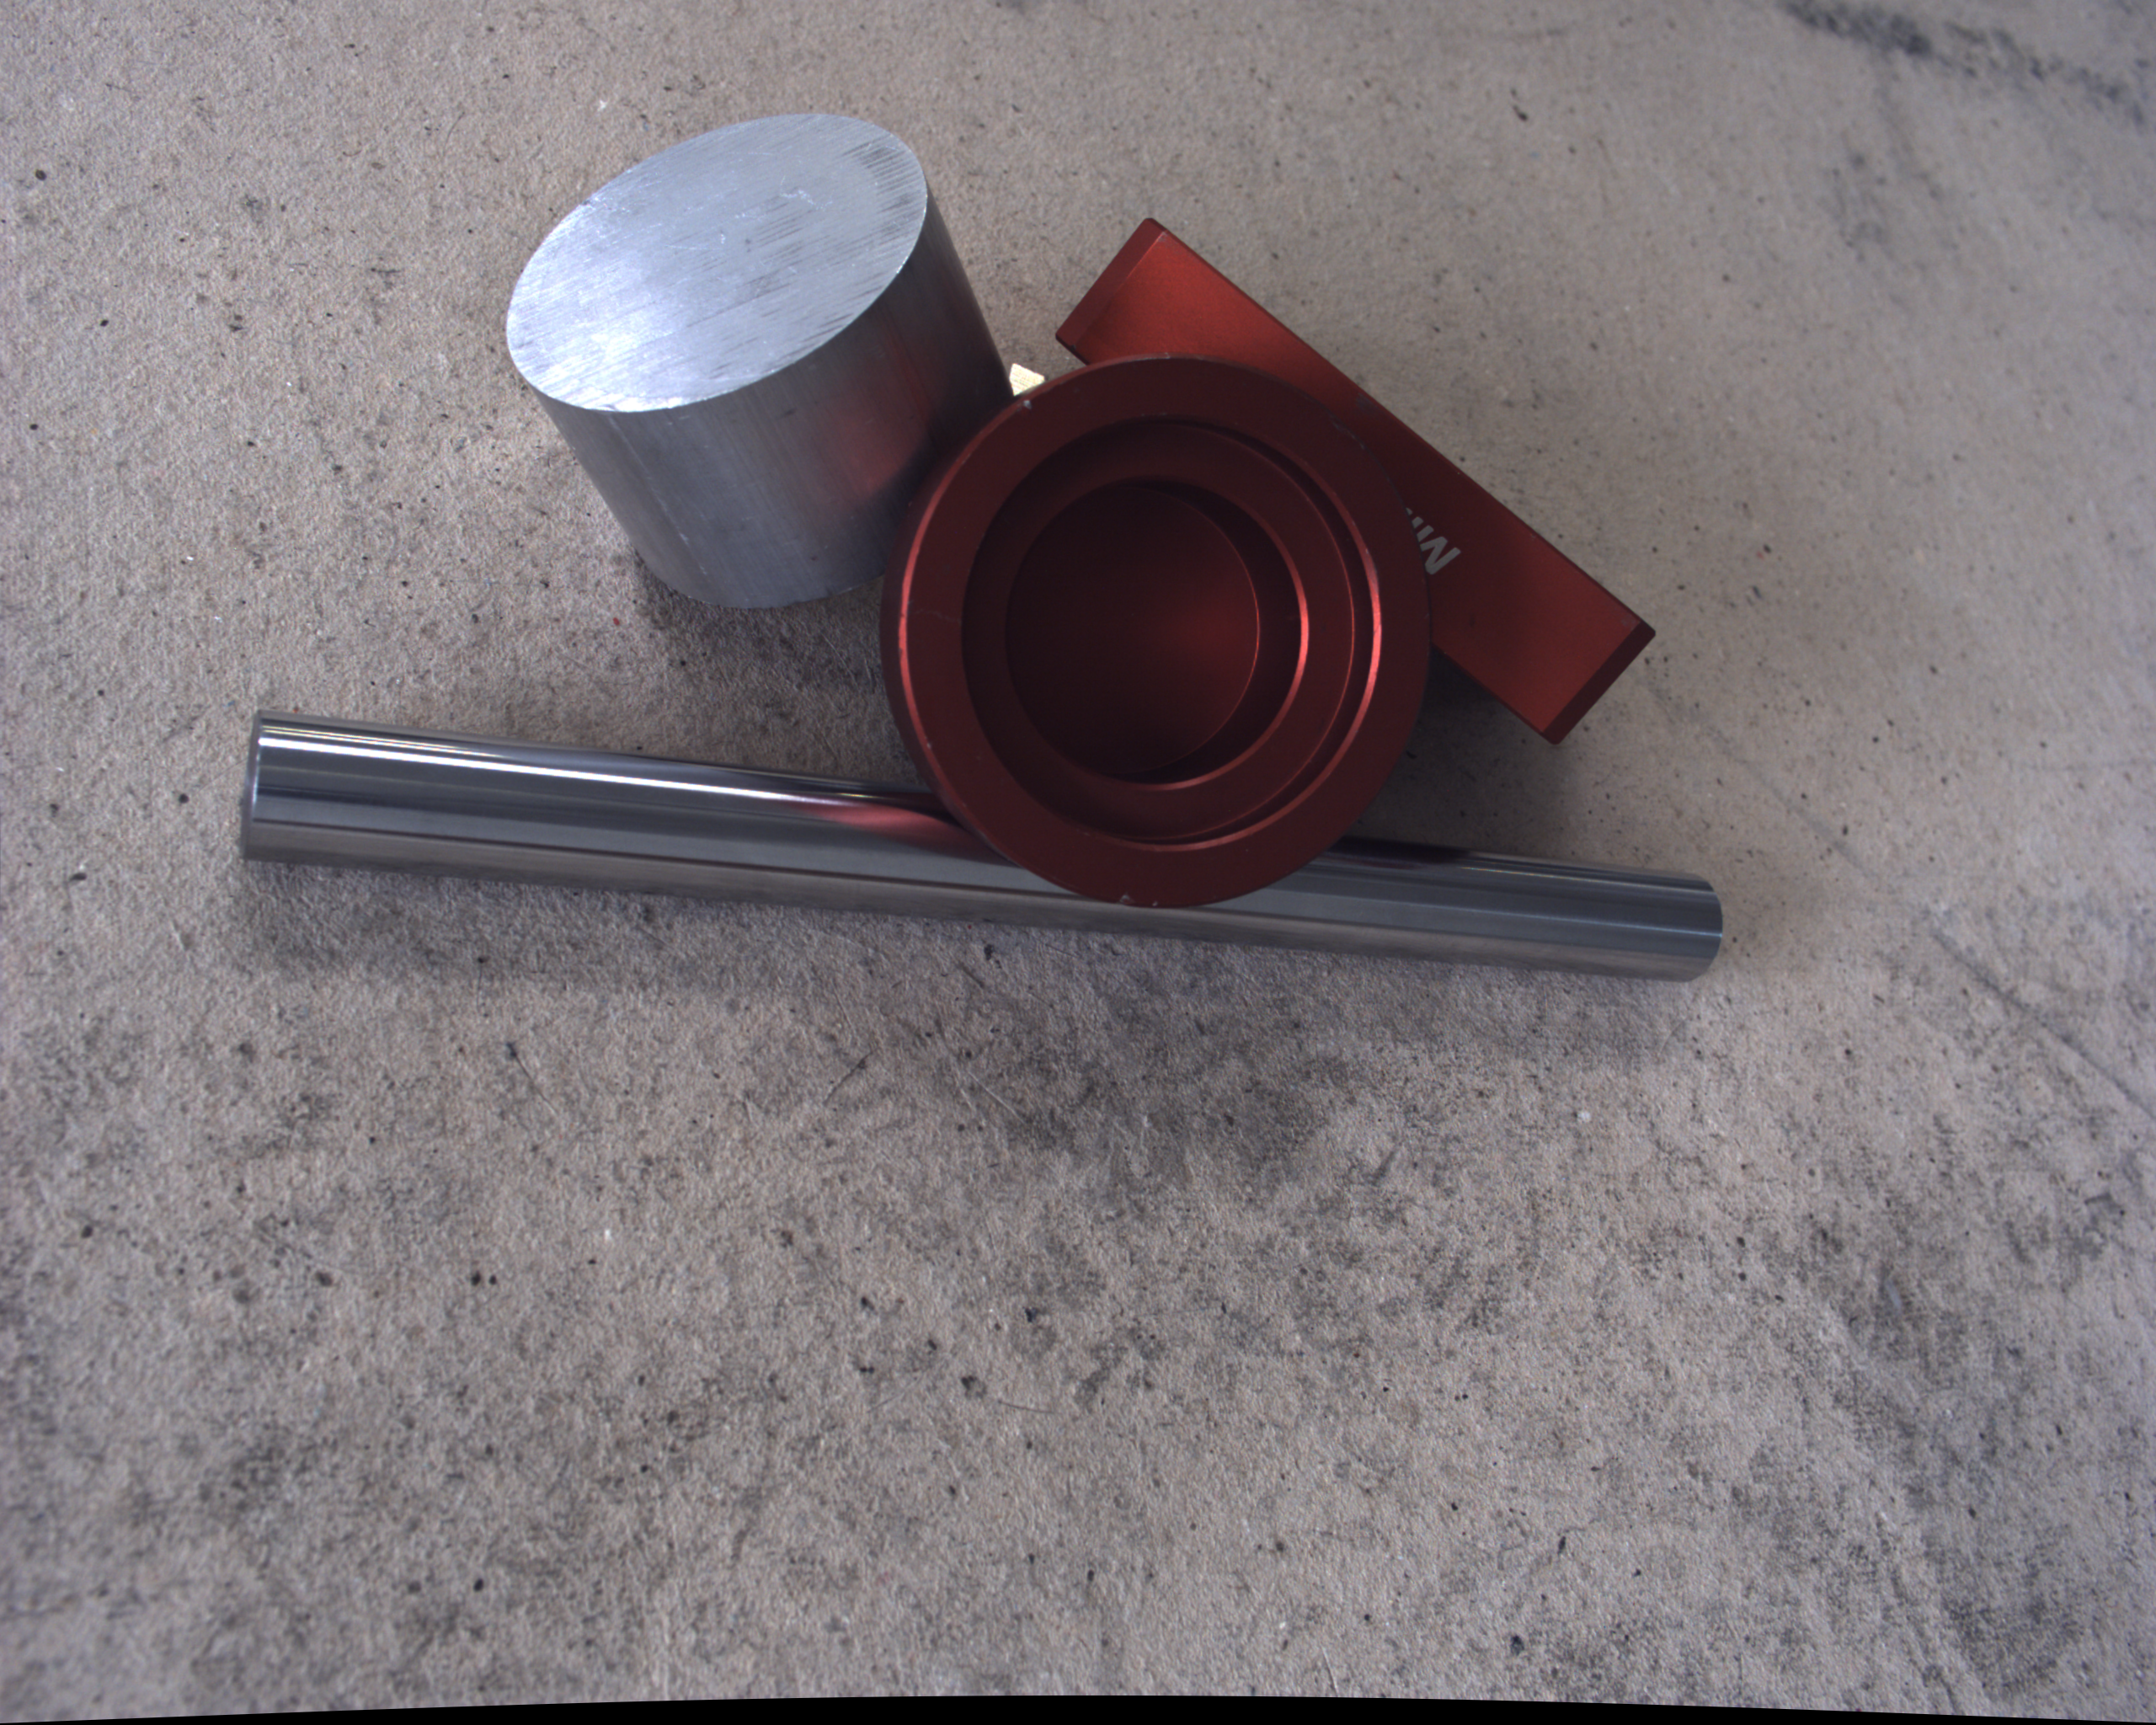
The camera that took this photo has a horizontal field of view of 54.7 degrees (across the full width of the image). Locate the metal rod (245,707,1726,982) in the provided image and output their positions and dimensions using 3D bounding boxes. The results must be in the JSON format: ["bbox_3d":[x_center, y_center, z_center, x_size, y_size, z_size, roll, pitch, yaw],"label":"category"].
[{"bbox_3d":[0.001,0.001,0.405,0.302,0.025,0.025,6,59,-25],"label":"metal rod"}]

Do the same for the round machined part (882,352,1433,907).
[{"bbox_3d":[0.012,-0.043,0.387,0.099,0.042,0.097,-2,97,-16],"label":"round machined part"}]

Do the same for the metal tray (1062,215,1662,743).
[{"bbox_3d":[0.061,-0.083,0.452,0.130,0.030,0.090,39,13,-2],"label":"metal tray"}]

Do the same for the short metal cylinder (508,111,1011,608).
[{"bbox_3d":[-0.058,-0.094,0.390,0.080,0.050,0.080,-10,52,13],"label":"short metal cylinder"}]

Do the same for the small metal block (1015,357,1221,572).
[{"bbox_3d":[-0.002,-0.069,0.428,0.050,0.050,0.025,21,54,-16],"label":"small metal block"}]
